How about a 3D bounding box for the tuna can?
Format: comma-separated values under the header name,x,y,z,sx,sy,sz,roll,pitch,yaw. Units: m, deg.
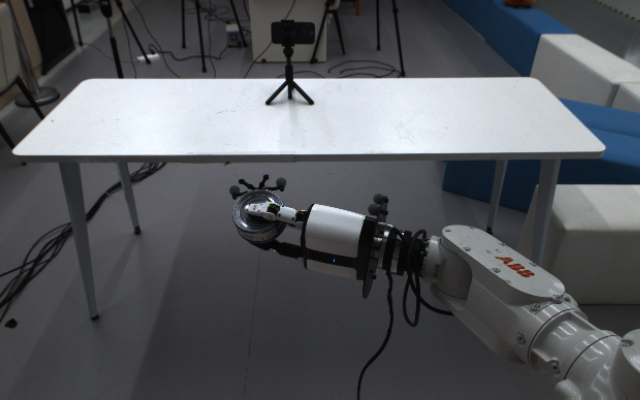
name,x,y,z,sx,sy,sz,roll,pitch,yaw
tuna can,-0.094,0.030,0.779,0.085,0.034,0.085,-3,58,5
